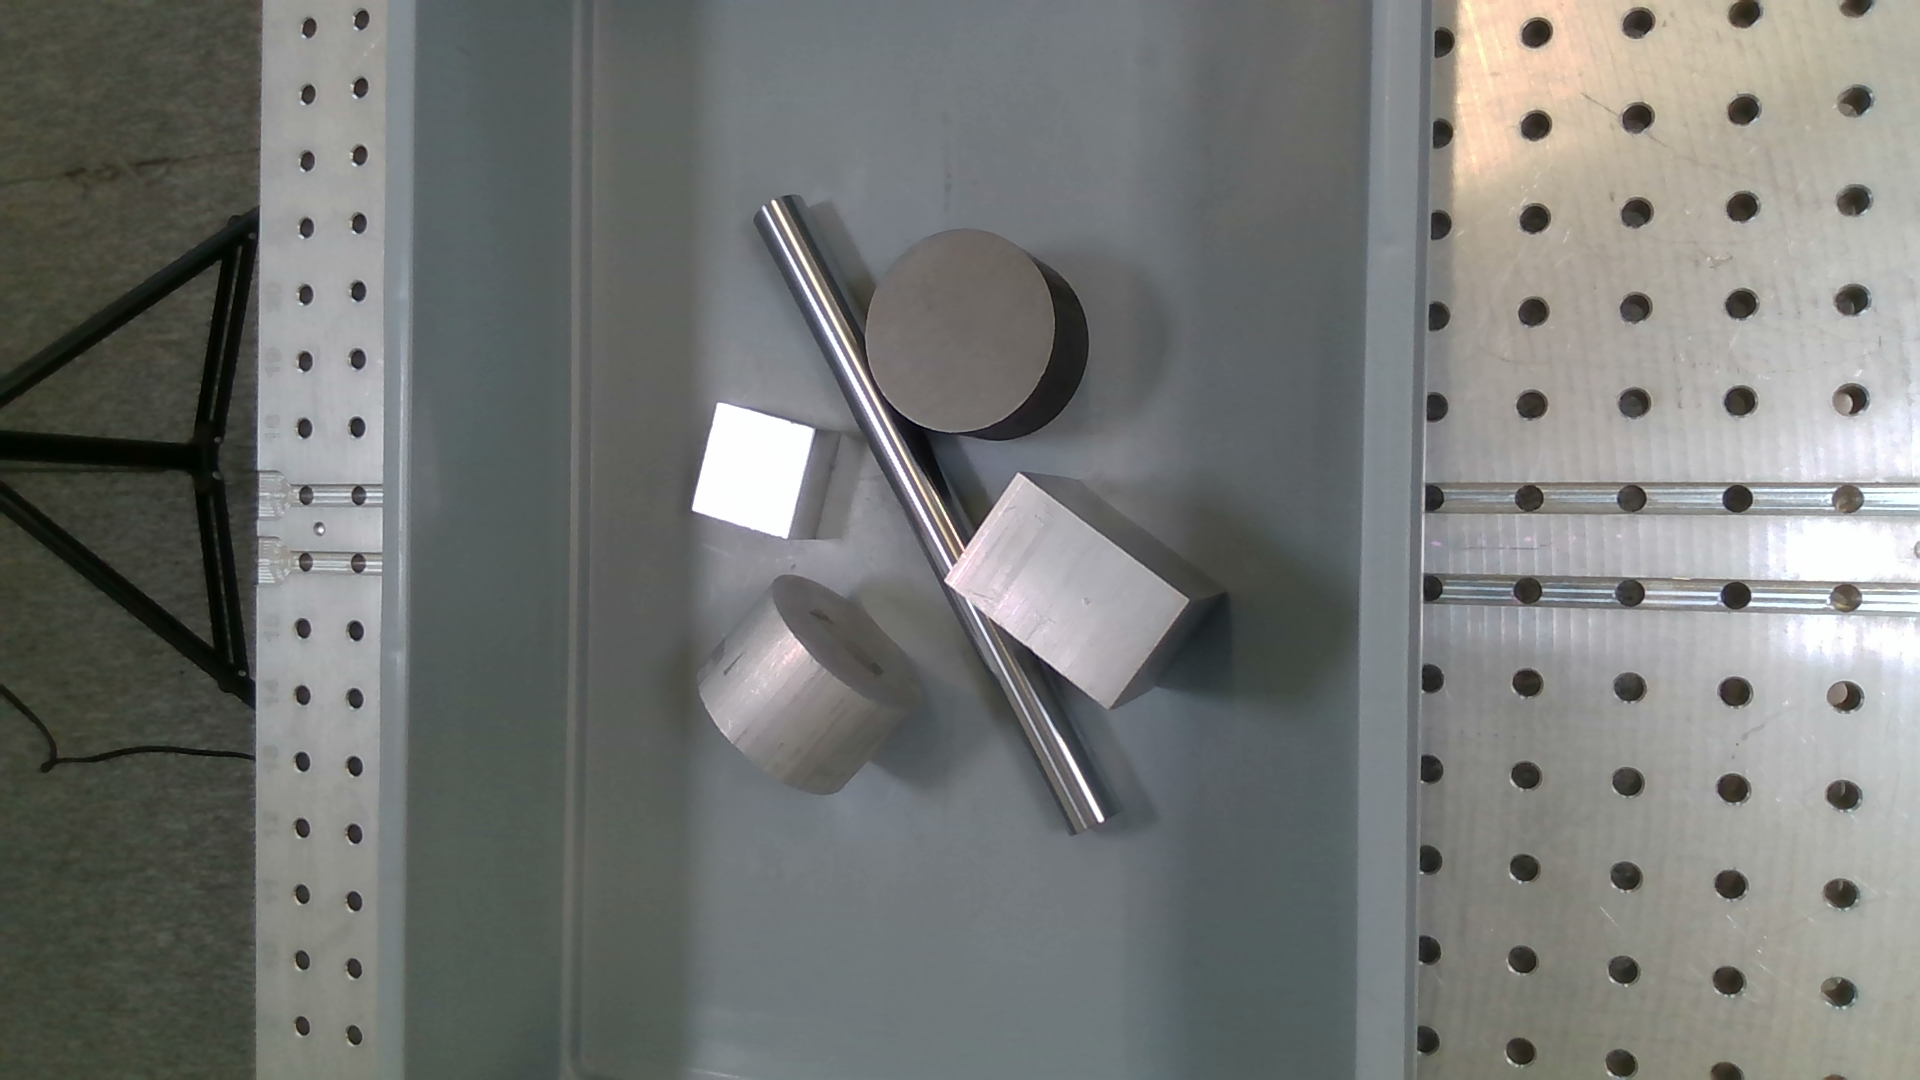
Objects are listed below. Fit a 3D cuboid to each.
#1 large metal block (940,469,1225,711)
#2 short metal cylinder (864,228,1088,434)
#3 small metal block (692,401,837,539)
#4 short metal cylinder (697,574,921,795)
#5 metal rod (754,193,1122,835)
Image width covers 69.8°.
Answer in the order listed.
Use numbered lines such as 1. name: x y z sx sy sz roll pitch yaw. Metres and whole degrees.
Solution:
1. large metal block: 0.051 0.017 0.537 0.080 0.080 0.050 38 103 16
2. short metal cylinder: 0.007 -0.083 0.567 0.080 0.050 0.080 0 91 20
3. small metal block: -0.087 -0.031 0.617 0.050 0.025 0.050 16 96 19
4. short metal cylinder: -0.063 0.060 0.580 0.080 0.080 0.050 45 105 14
5. metal rod: -0.013 -0.016 0.589 0.025 0.025 0.300 -30 80 18
